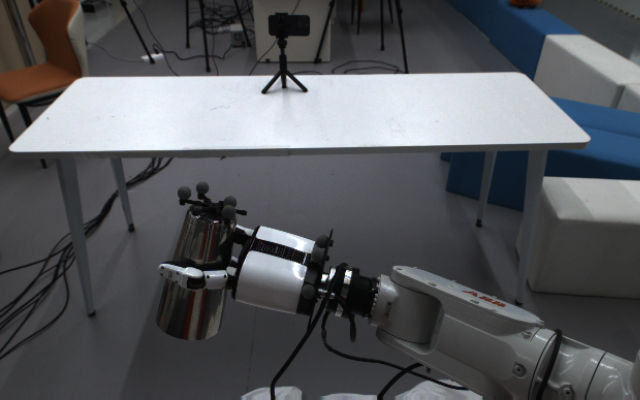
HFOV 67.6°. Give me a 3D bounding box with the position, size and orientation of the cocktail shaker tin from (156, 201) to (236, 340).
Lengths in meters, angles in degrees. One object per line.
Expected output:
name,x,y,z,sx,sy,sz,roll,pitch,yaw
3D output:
cocktail shaker tin,-0.165,0.094,0.664,0.093,0.170,0.093,15,17,-5
